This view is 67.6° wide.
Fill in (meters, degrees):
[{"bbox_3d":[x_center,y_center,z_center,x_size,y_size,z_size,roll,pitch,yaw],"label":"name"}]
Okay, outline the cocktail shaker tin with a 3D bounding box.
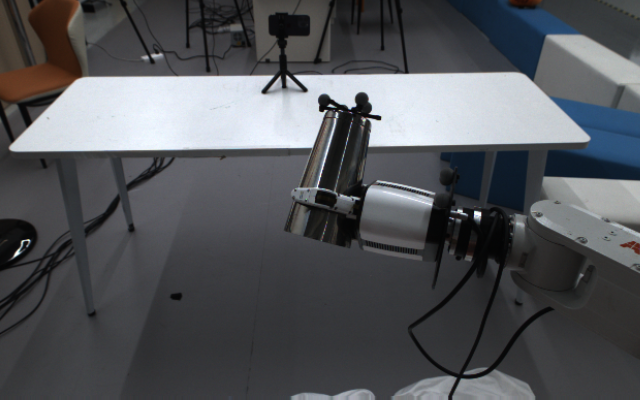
[{"bbox_3d":[0.017,-0.029,0.652,0.093,0.170,0.093,15,-4,1],"label":"cocktail shaker tin"}]
